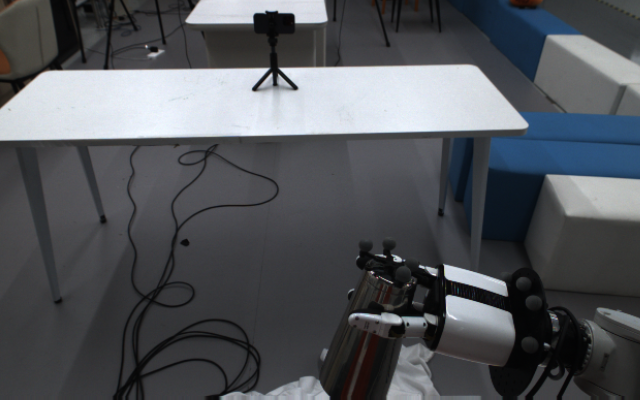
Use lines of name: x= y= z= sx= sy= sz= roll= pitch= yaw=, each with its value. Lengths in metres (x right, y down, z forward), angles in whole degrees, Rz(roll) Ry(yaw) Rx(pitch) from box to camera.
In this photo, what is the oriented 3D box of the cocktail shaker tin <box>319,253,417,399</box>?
cocktail shaker tin: x=0.066 y=0.160 z=0.609 sx=0.093 sy=0.170 sz=0.093 roll=14 pitch=18 yaw=-5
